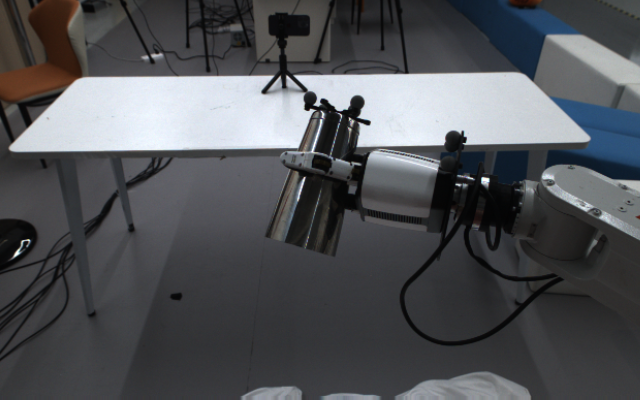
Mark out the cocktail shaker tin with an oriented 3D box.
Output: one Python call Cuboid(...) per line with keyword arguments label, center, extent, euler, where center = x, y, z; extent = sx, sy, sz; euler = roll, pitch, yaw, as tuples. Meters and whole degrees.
Cuboid(label="cocktail shaker tin", center=(-0.002, -0.022, 0.616), extent=(0.093, 0.170, 0.093), euler=(15, -6, 2))
